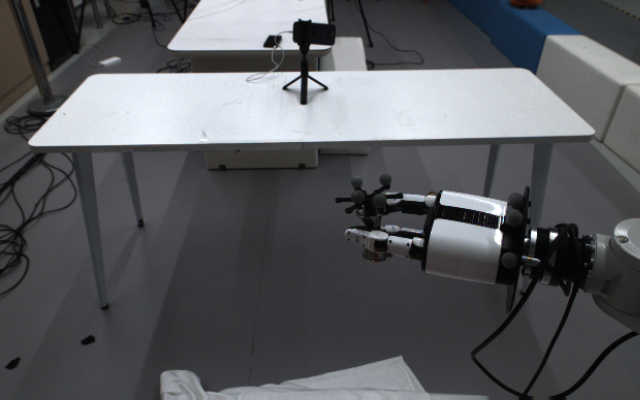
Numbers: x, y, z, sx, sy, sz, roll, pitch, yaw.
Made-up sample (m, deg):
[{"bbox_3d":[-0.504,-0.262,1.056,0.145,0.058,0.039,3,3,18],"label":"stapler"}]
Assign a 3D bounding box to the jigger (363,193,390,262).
[{"bbox_3d":[0.075,0.041,0.654,0.043,0.071,0.043,-11,23,5],"label":"jigger"}]
